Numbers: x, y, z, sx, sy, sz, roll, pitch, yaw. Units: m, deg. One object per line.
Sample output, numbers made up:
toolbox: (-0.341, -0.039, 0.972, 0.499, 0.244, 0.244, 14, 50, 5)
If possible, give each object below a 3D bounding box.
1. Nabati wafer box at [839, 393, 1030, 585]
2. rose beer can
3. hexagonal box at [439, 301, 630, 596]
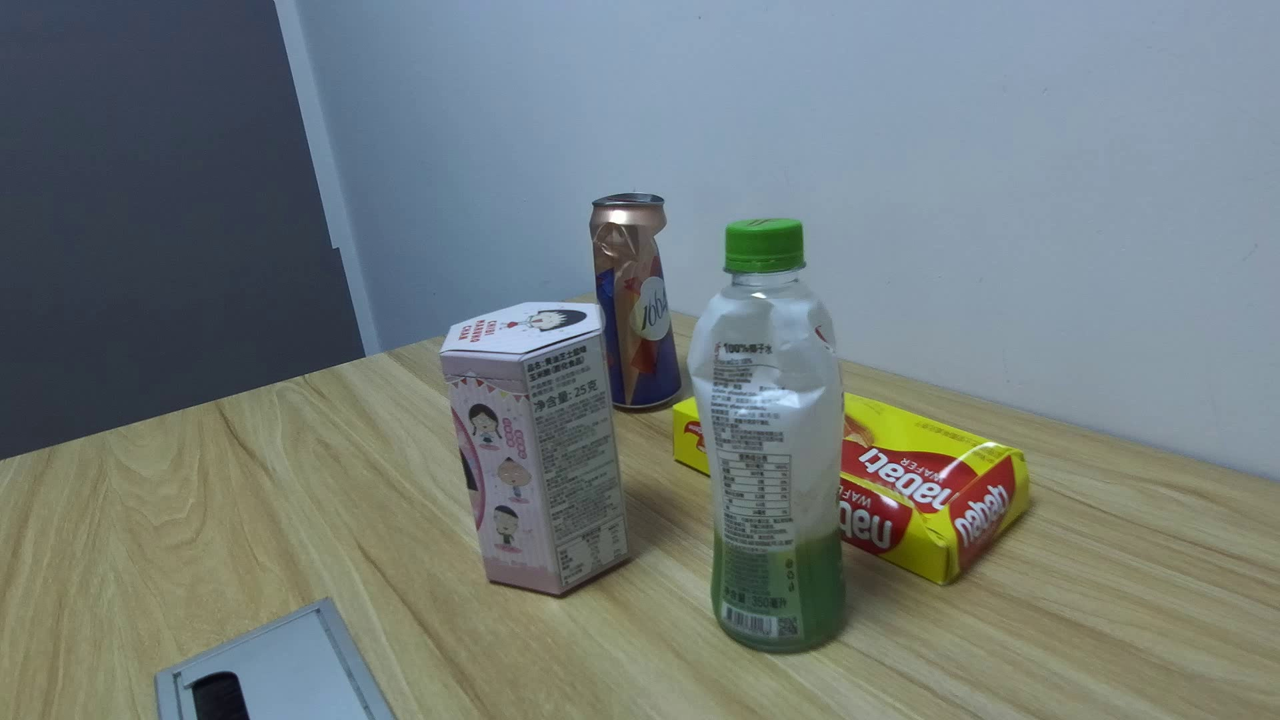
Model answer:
Nabati wafer box: (0.117, 0.057, 0.434, 0.097, 0.042, 0.202, -19, 26, -37)
rose beer can: (-0.002, -0.043, 0.562, 0.065, 0.167, 0.076, 5, 16, 29)
hexagonal box: (-0.053, 0.046, 0.382, 0.084, 0.136, 0.091, -7, 21, -4)
